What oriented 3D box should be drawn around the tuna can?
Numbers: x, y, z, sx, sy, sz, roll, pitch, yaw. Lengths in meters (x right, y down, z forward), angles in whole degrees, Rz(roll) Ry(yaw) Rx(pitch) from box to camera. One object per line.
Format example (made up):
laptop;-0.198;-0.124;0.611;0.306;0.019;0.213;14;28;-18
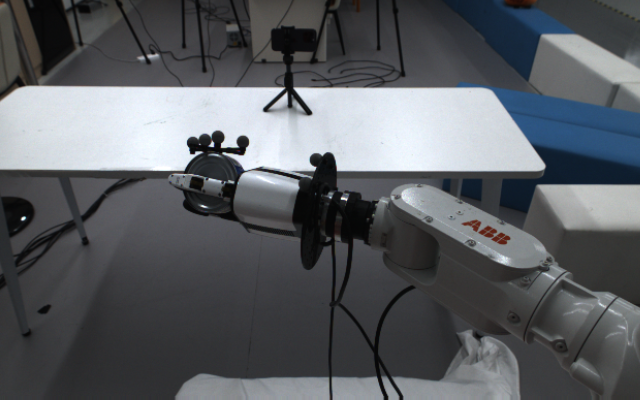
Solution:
tuna can;-0.148;-0.023;0.681;0.085;0.085;0.034;15;0;18
